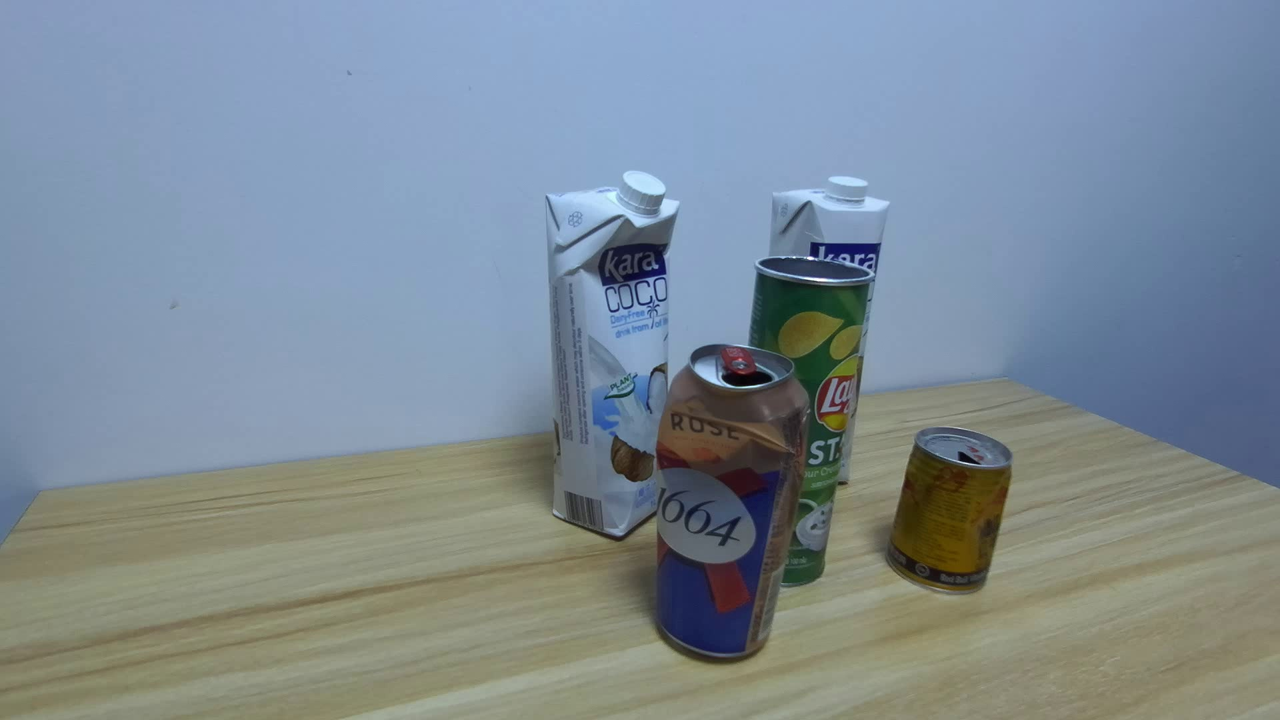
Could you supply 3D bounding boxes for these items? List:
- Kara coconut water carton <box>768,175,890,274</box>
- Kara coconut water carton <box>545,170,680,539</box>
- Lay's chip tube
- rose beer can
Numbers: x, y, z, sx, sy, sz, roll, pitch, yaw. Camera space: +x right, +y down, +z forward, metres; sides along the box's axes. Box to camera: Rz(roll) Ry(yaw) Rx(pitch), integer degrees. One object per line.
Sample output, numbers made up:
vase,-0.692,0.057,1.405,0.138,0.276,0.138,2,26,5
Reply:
Kara coconut water carton,0.137,-0.022,0.568,0.077,0.245,0.075,-3,19,-18
Kara coconut water carton,-0.017,-0.005,0.494,0.071,0.244,0.100,12,23,31
Lay's chip tube,0.098,0.038,0.450,0.071,0.202,0.071,3,19,-1
rose beer can,0.045,0.079,0.381,0.065,0.167,0.075,-15,29,-39
